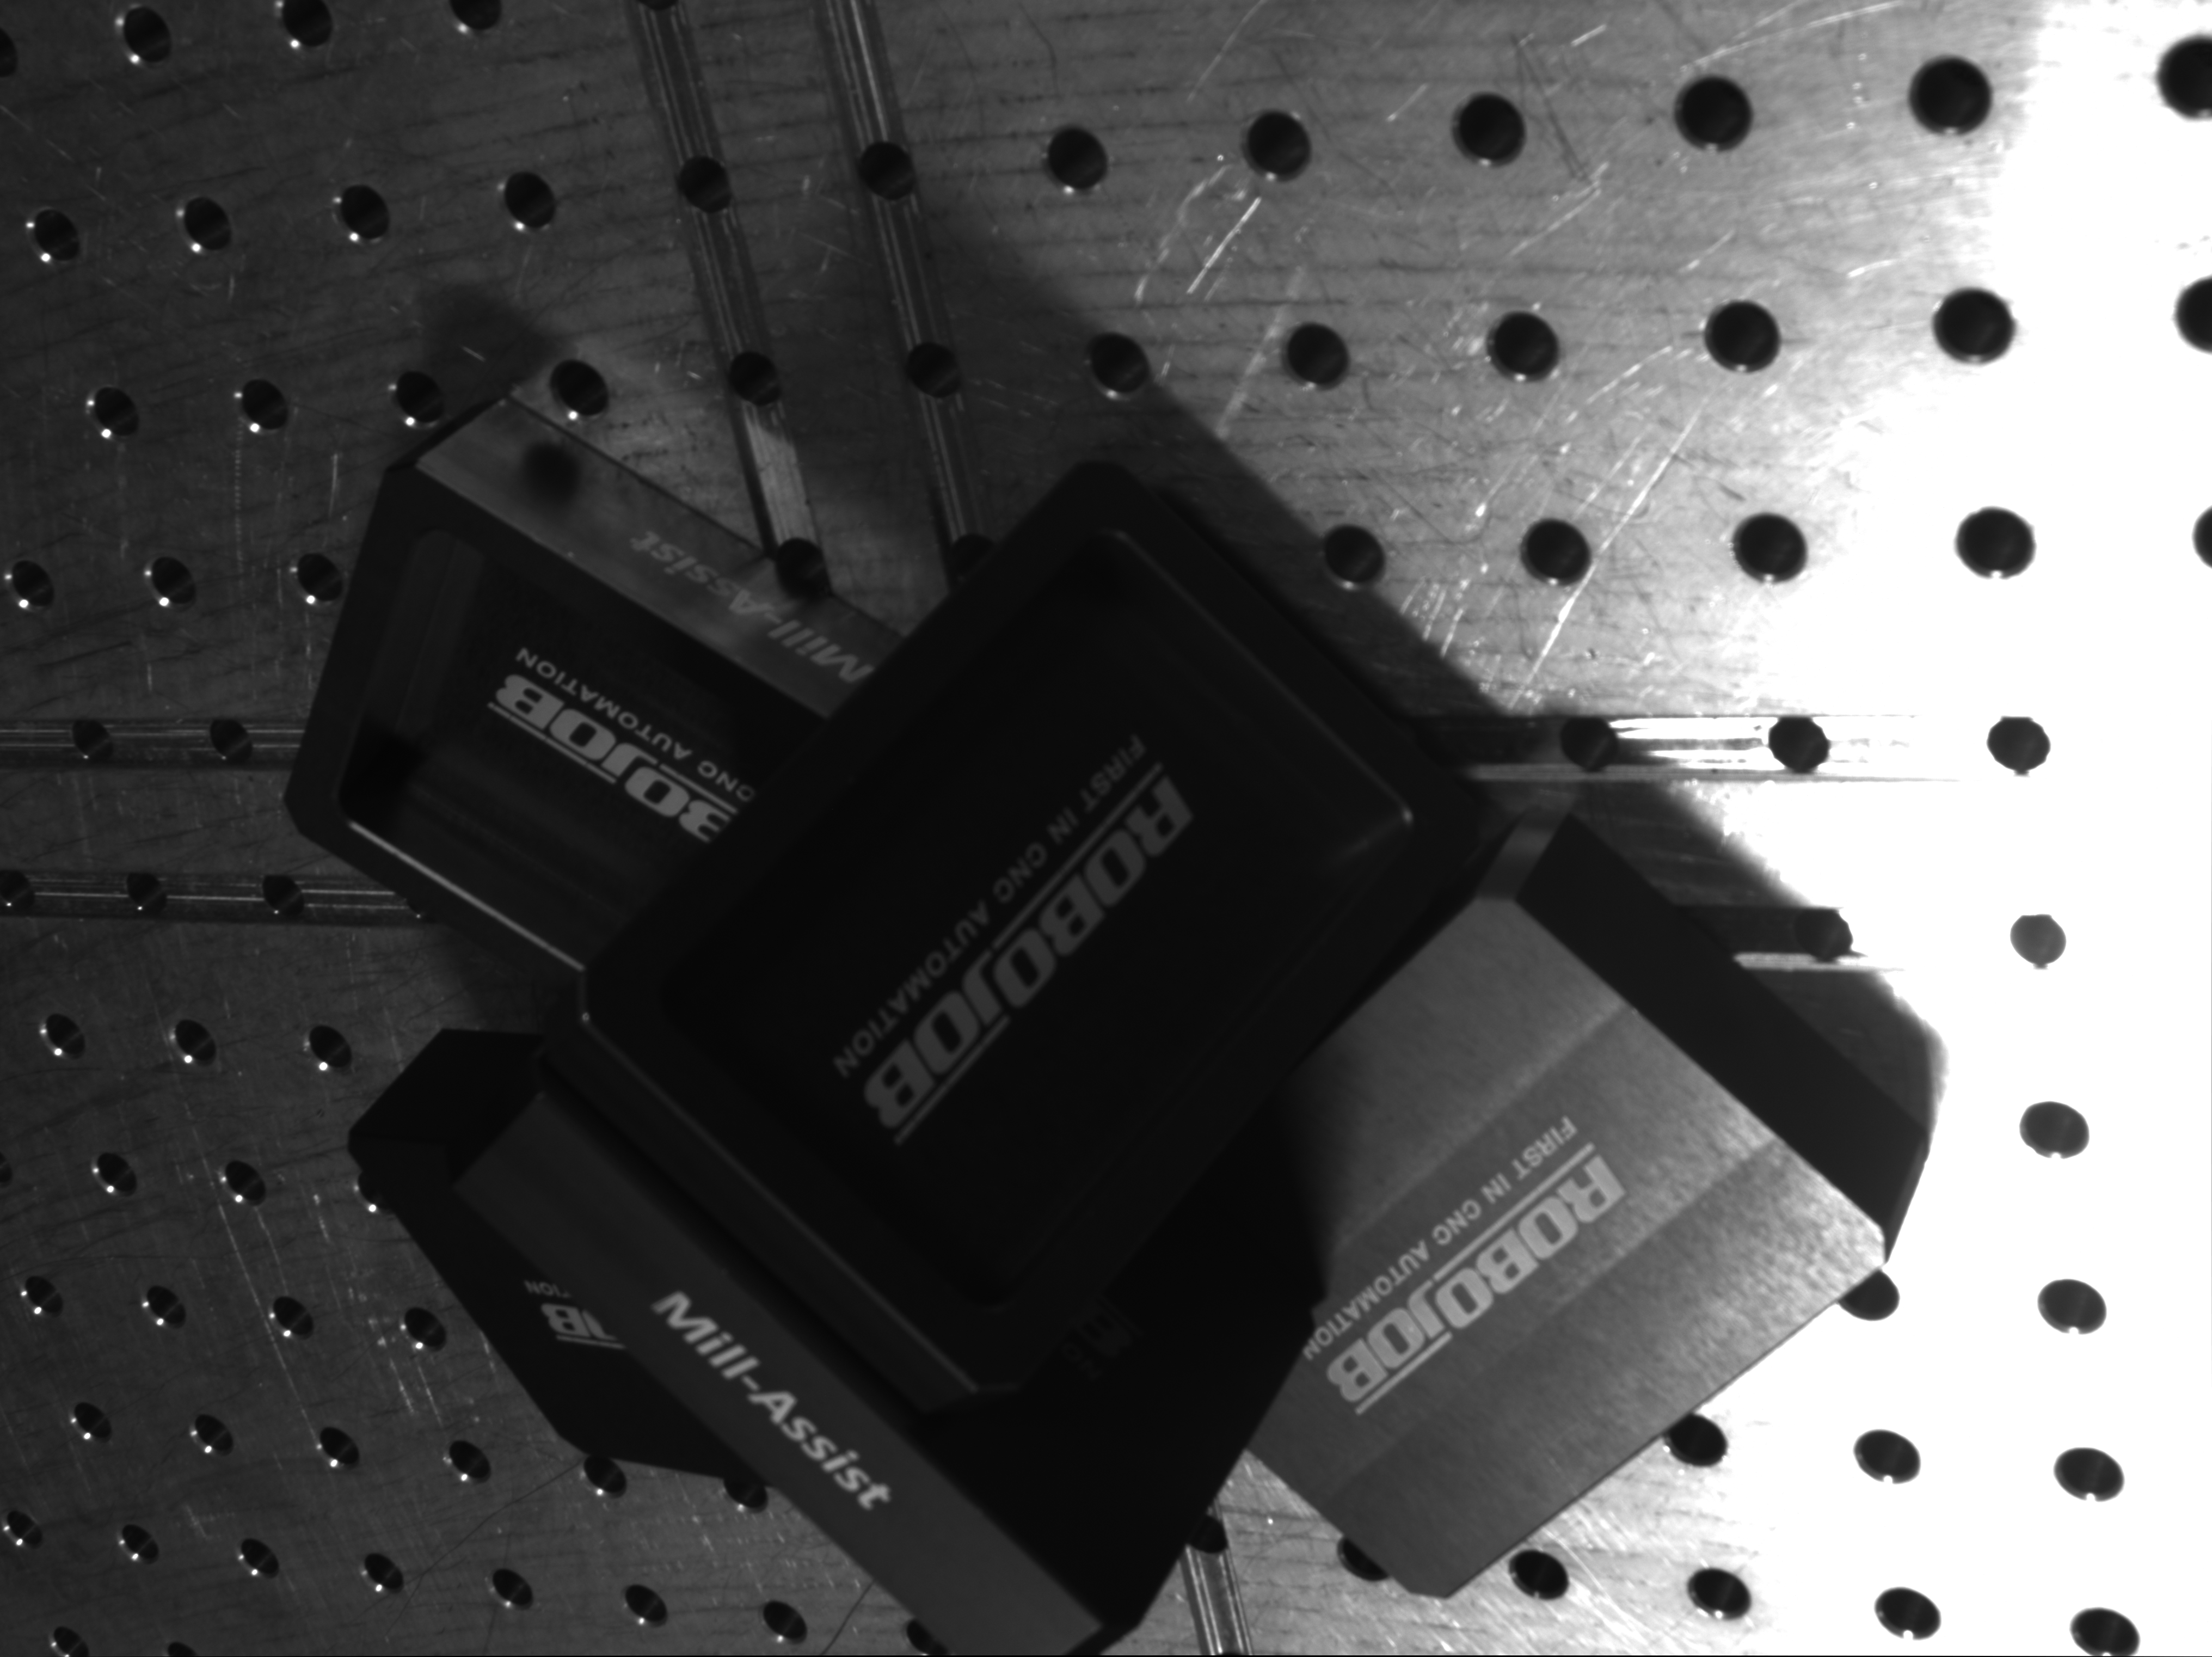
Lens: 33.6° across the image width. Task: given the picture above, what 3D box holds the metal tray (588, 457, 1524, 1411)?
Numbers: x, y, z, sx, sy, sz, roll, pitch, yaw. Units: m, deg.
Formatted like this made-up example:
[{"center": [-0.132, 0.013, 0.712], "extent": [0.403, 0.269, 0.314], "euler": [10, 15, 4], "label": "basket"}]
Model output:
[{"center": [-0.006, 0.015, 0.580], "extent": [0.090, 0.130, 0.030], "euler": [44, 156, -3], "label": "metal tray"}]

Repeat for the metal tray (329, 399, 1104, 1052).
[{"center": [-0.070, -0.007, 0.662], "extent": [0.130, 0.030, 0.090], "euler": [31, 128, 7], "label": "metal tray"}]

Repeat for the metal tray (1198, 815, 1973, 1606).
[{"center": [0.073, 0.069, 0.634], "extent": [0.090, 0.030, 0.130], "euler": [41, 128, -1], "label": "metal tray"}]

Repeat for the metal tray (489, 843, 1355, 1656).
[{"center": [-0.027, 0.069, 0.609], "extent": [0.130, 0.090, 0.030], "euler": [44, 128, -3], "label": "metal tray"}]

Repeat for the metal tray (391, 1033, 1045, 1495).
[{"center": [-0.065, 0.083, 0.683], "extent": [0.130, 0.030, 0.090], "euler": [0, 130, 43], "label": "metal tray"}]
